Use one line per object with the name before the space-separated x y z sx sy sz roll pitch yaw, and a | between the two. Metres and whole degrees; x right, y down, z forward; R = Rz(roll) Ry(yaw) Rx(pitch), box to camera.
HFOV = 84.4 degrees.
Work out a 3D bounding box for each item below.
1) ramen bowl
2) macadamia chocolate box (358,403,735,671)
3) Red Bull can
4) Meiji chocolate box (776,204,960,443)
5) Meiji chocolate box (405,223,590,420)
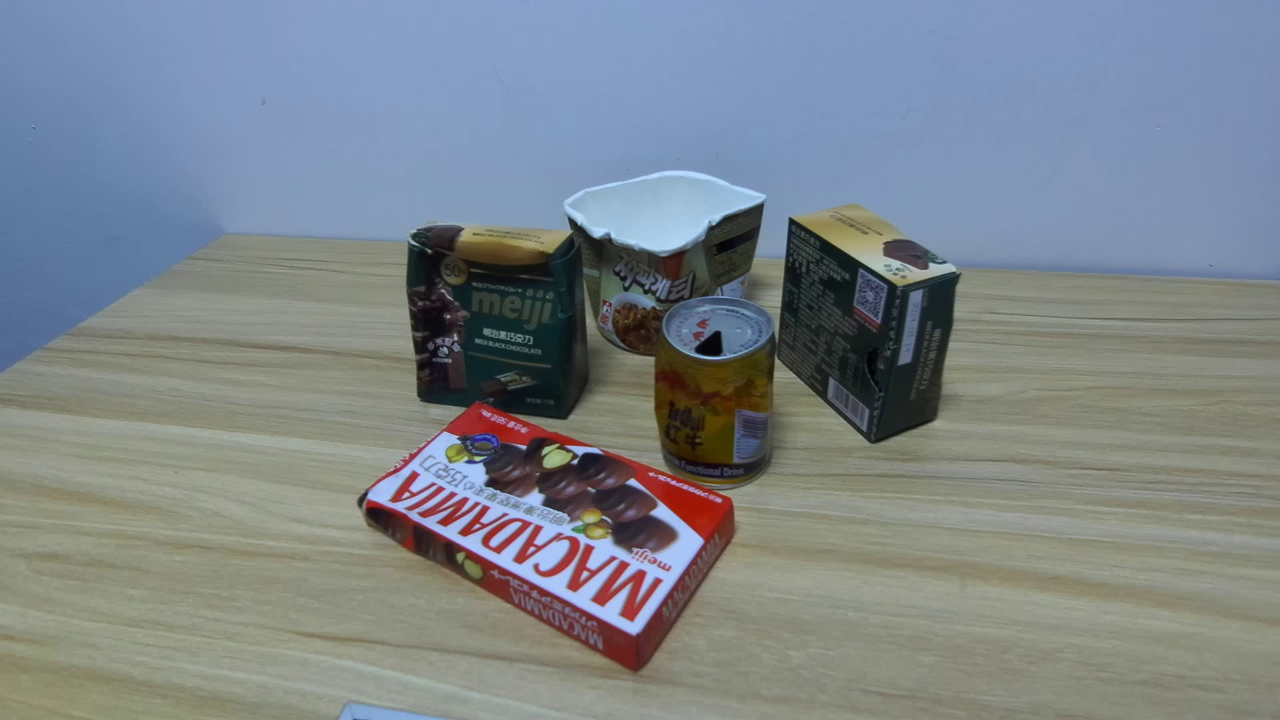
ramen bowl | 0.011 -0.075 0.529 0.133 0.098 0.114 20 43 28
macadamia chocolate box | -0.051 0.080 0.377 0.182 0.028 0.106 17 39 28
Red Bull can | 0.043 0.018 0.395 0.072 0.092 0.072 -1 35 1
Meiji chocolate box | 0.141 -0.026 0.439 0.058 0.111 0.112 -15 36 -17
Meiji chocolate box | -0.092 -0.028 0.462 0.117 0.117 0.052 6 27 13
